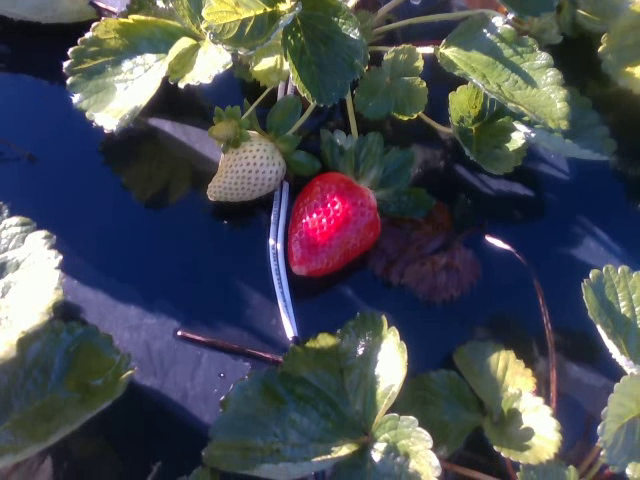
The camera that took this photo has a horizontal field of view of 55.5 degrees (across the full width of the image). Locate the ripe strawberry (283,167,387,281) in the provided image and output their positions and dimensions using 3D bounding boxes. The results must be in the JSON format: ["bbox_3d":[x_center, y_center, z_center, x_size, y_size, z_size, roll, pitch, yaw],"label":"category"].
[{"bbox_3d":[0.010,-0.008,0.320,0.040,0.063,0.080,-15,30,50],"label":"ripe strawberry"}]
